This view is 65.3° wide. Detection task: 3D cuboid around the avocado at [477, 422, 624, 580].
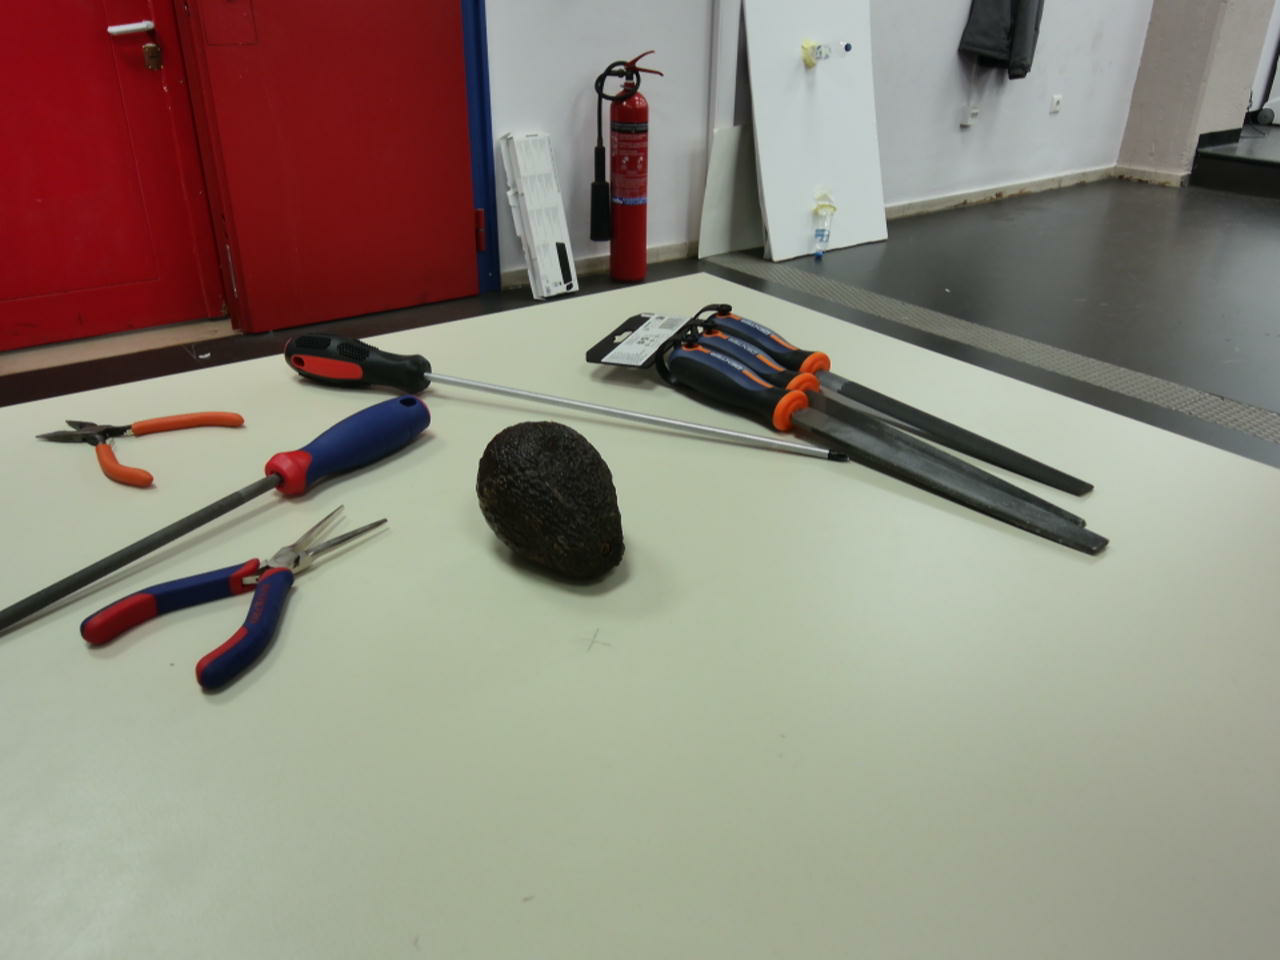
[{"bbox_3d":[-0.047,0.008,0.507,0.070,0.069,0.090,-5,25,-11],"label":"avocado"}]
